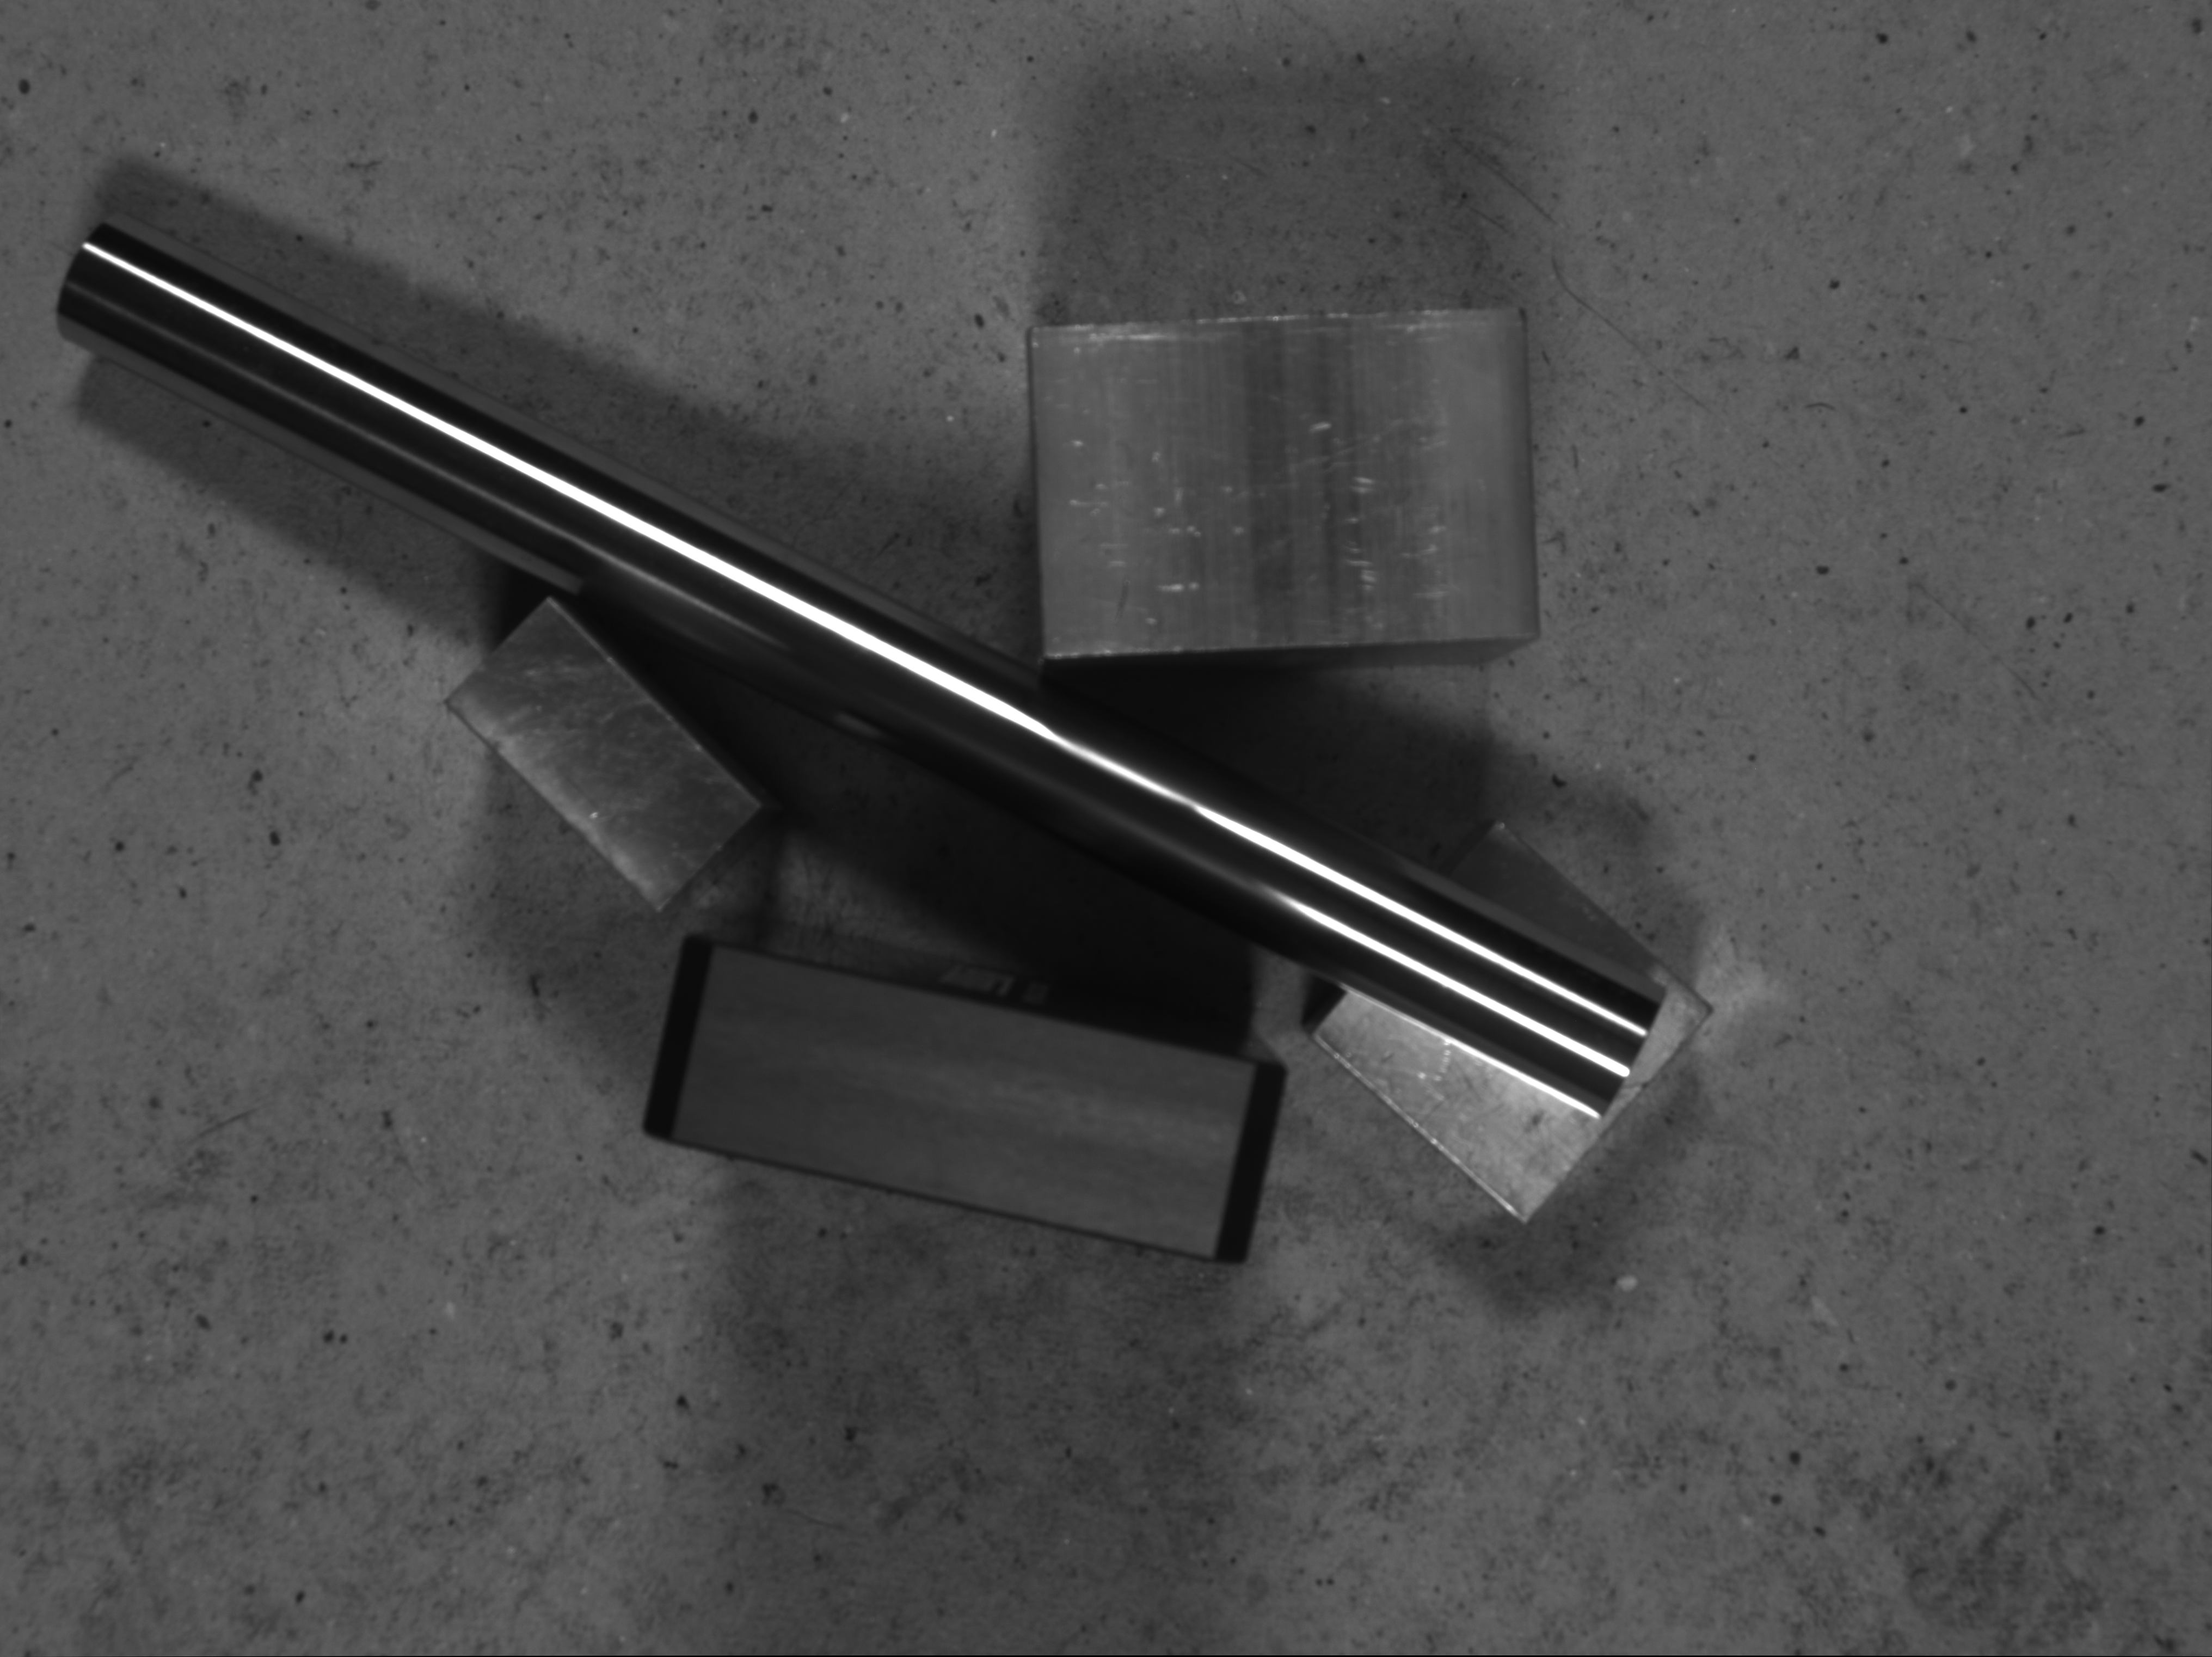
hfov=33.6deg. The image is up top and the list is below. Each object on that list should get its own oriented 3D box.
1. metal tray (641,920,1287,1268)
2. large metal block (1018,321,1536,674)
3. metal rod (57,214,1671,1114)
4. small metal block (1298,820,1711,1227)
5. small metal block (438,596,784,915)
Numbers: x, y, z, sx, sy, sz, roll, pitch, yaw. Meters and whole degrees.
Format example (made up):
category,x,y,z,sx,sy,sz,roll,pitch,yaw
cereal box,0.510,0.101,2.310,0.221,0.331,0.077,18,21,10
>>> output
category,x,y,z,sx,sy,sz,roll,pitch,yaw
metal tray,-0.021,0.040,0.593,0.090,0.130,0.030,13,90,0
large metal block,0.027,-0.054,0.617,0.080,0.080,0.050,-2,90,0
metal rod,-0.044,-0.030,0.631,0.300,0.025,0.025,27,90,5
small metal block,0.069,0.034,0.646,0.050,0.025,0.050,41,90,0
small metal block,-0.084,-0.012,0.631,0.050,0.050,0.025,45,90,0
